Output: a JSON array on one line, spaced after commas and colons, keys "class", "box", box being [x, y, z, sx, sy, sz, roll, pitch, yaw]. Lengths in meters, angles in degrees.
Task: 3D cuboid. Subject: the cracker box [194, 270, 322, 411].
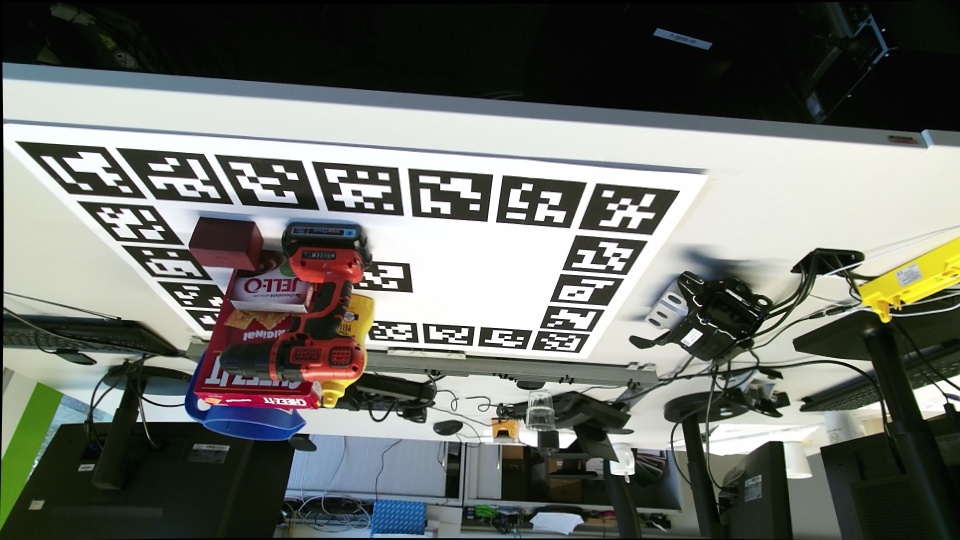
[{"class": "cracker box", "box": [-0.321, 0.101, 0.817, 0.165, 0.212, 0.072, 0, 149, -2]}]

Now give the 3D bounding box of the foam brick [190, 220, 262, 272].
[{"class": "foam brick", "box": [-0.362, -0.035, 0.766, 0.078, 0.051, 0.053, 5, 146, -4]}]

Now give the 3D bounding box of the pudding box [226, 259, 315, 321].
[{"class": "pudding box", "box": [-0.309, 0.031, 0.805, 0.114, 0.089, 0.039, 2, 149, -4]}]

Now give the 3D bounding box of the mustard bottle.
[{"class": "mustard bottle", "box": [-0.241, 0.156, 0.909, 0.096, 0.190, 0.058, 11, 145, -13]}]

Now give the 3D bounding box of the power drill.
[{"class": "power drill", "box": [-0.246, 0.059, 0.718, 0.185, 0.186, 0.057, 3, 151, 0]}]

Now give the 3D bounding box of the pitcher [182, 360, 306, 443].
[{"class": "pitcher", "box": [-0.375, 0.158, 0.899, 0.189, 0.241, 0.133, 5, 147, -8]}]
